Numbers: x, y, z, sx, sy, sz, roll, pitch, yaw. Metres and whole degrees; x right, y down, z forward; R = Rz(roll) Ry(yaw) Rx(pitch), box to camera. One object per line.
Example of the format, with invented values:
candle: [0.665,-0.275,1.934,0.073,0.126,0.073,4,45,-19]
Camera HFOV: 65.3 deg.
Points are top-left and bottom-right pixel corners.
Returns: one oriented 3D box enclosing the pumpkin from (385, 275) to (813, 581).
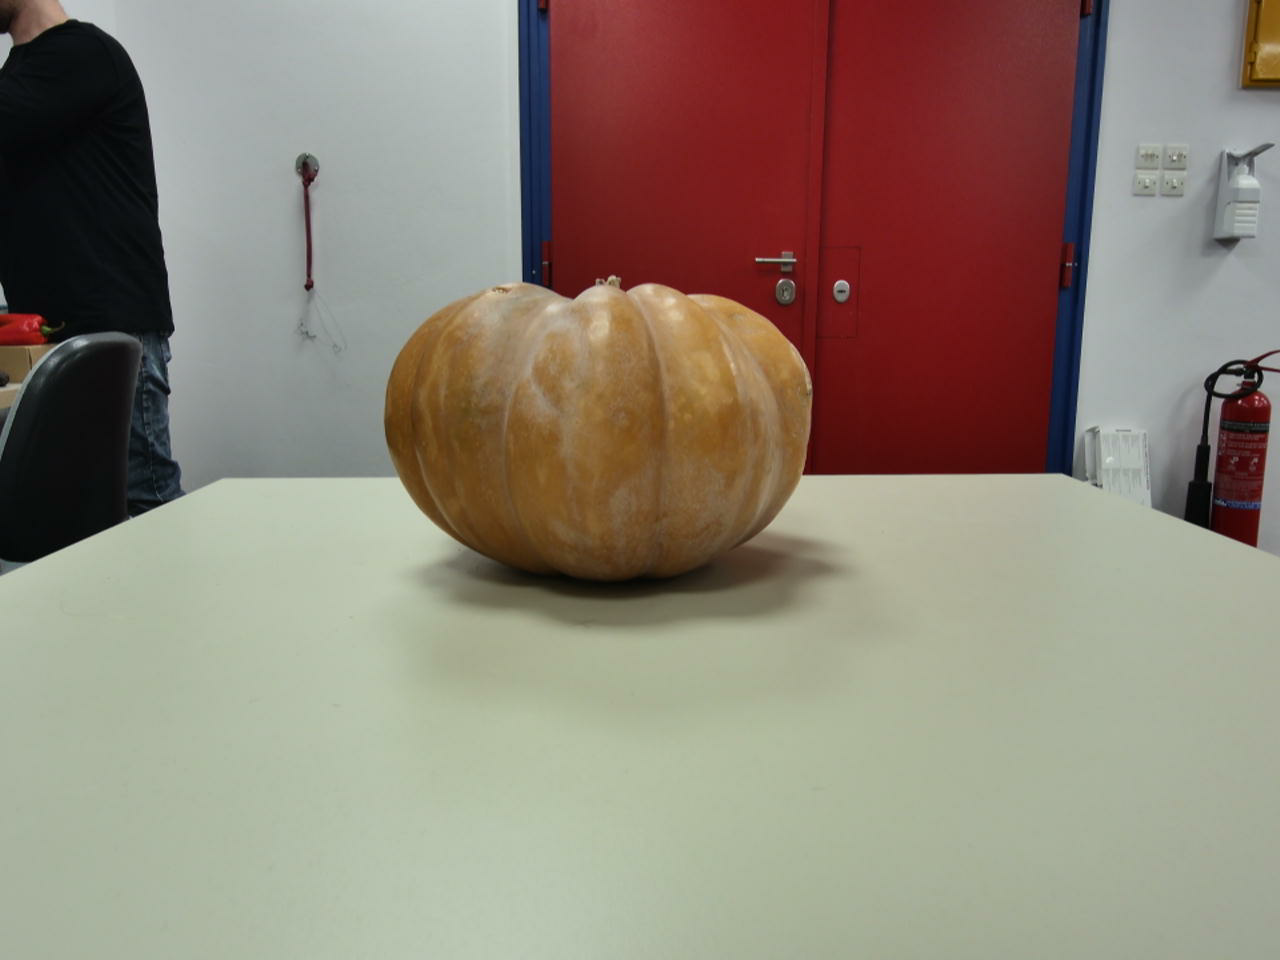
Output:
pumpkin: [-0.023,-0.036,0.632,0.277,0.181,0.277,0,8,0]
